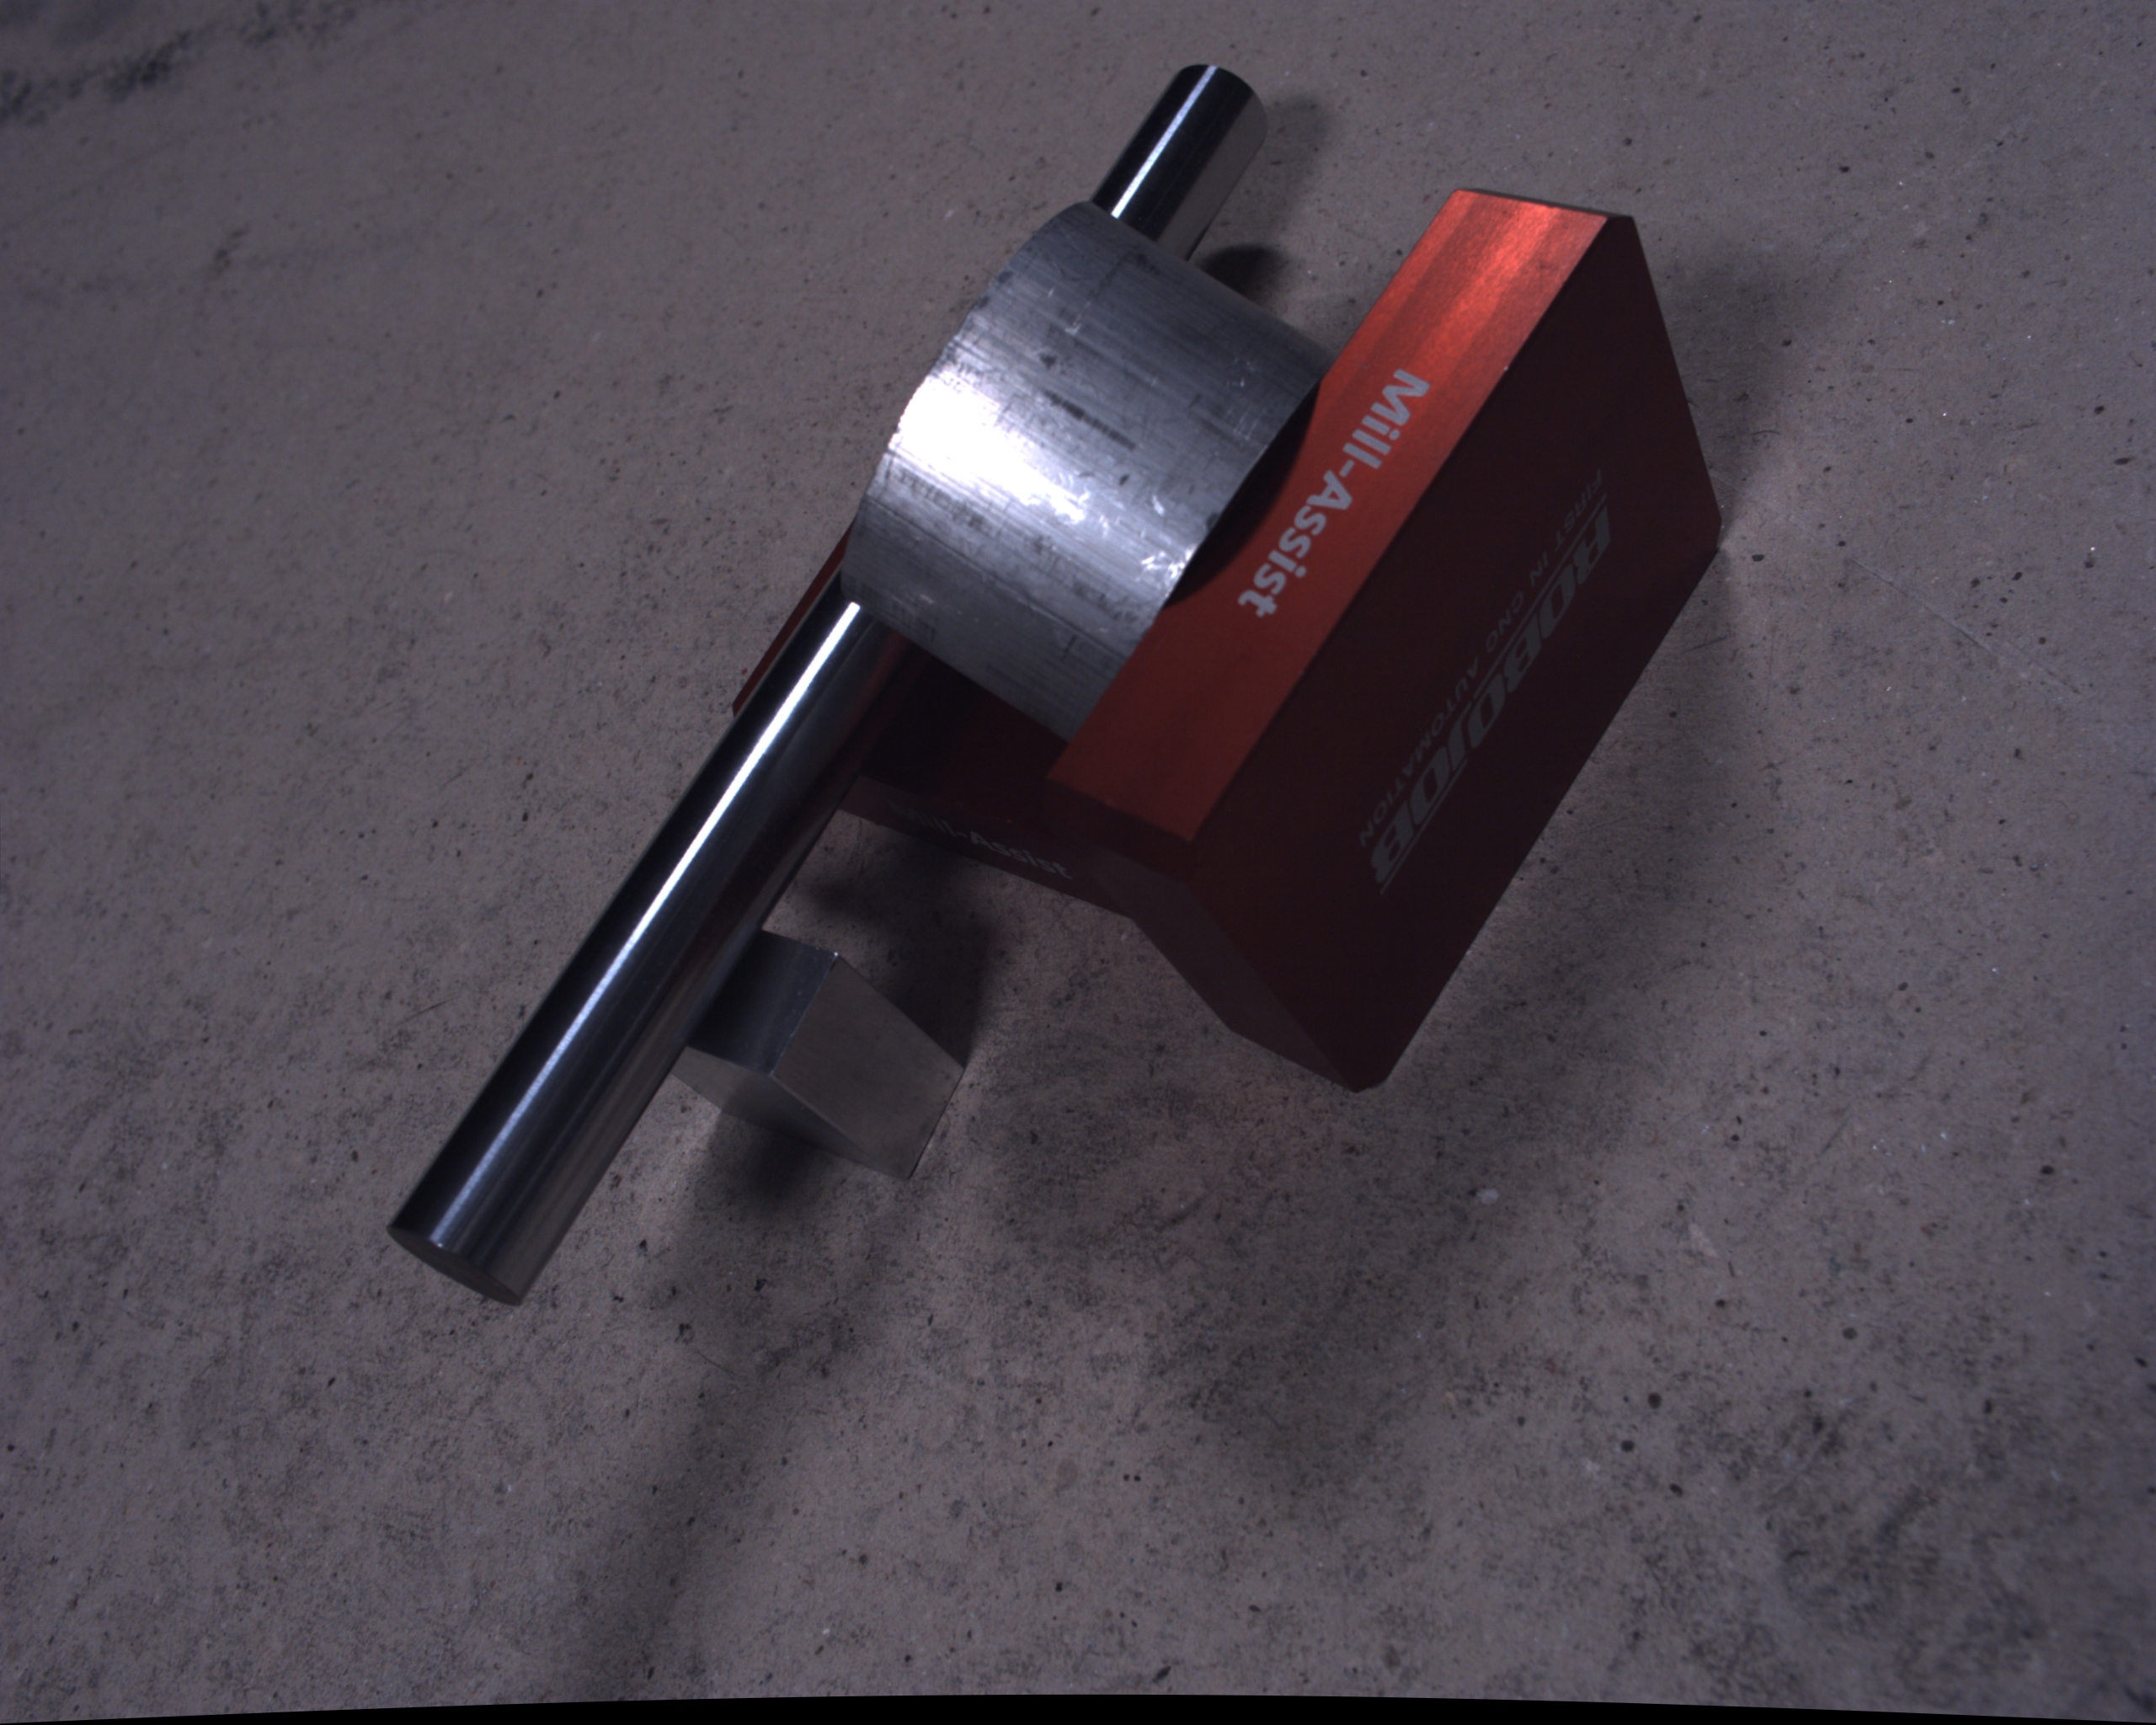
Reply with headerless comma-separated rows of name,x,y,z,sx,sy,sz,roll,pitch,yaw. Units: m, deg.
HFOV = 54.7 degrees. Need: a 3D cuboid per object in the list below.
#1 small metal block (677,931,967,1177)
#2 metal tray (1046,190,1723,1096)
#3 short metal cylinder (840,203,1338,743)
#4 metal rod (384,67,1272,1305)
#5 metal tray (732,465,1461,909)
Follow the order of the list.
small metal block,-0.058,0.033,0.398,0.050,0.050,0.025,14,69,33
metal tray,0.058,-0.035,0.354,0.030,0.090,0.130,25,75,36
short metal cylinder,0.003,-0.065,0.360,0.050,0.080,0.080,33,78,4
metal rod,-0.034,-0.052,0.404,0.025,0.025,0.300,11,58,32
metal tray,0.003,-0.042,0.425,0.130,0.030,0.090,20,72,35
